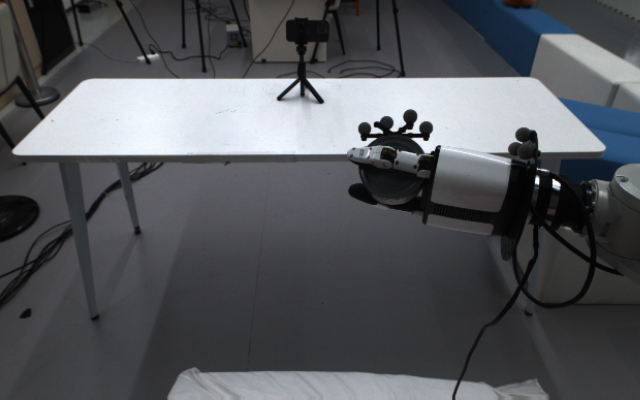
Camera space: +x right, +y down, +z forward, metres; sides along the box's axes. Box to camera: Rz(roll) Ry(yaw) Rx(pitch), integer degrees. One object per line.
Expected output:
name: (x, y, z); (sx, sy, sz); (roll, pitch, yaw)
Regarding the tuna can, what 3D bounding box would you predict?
tuna can: (0.093, -0.040, 0.618); (0.085, 0.034, 0.085); (-4, 70, 11)
